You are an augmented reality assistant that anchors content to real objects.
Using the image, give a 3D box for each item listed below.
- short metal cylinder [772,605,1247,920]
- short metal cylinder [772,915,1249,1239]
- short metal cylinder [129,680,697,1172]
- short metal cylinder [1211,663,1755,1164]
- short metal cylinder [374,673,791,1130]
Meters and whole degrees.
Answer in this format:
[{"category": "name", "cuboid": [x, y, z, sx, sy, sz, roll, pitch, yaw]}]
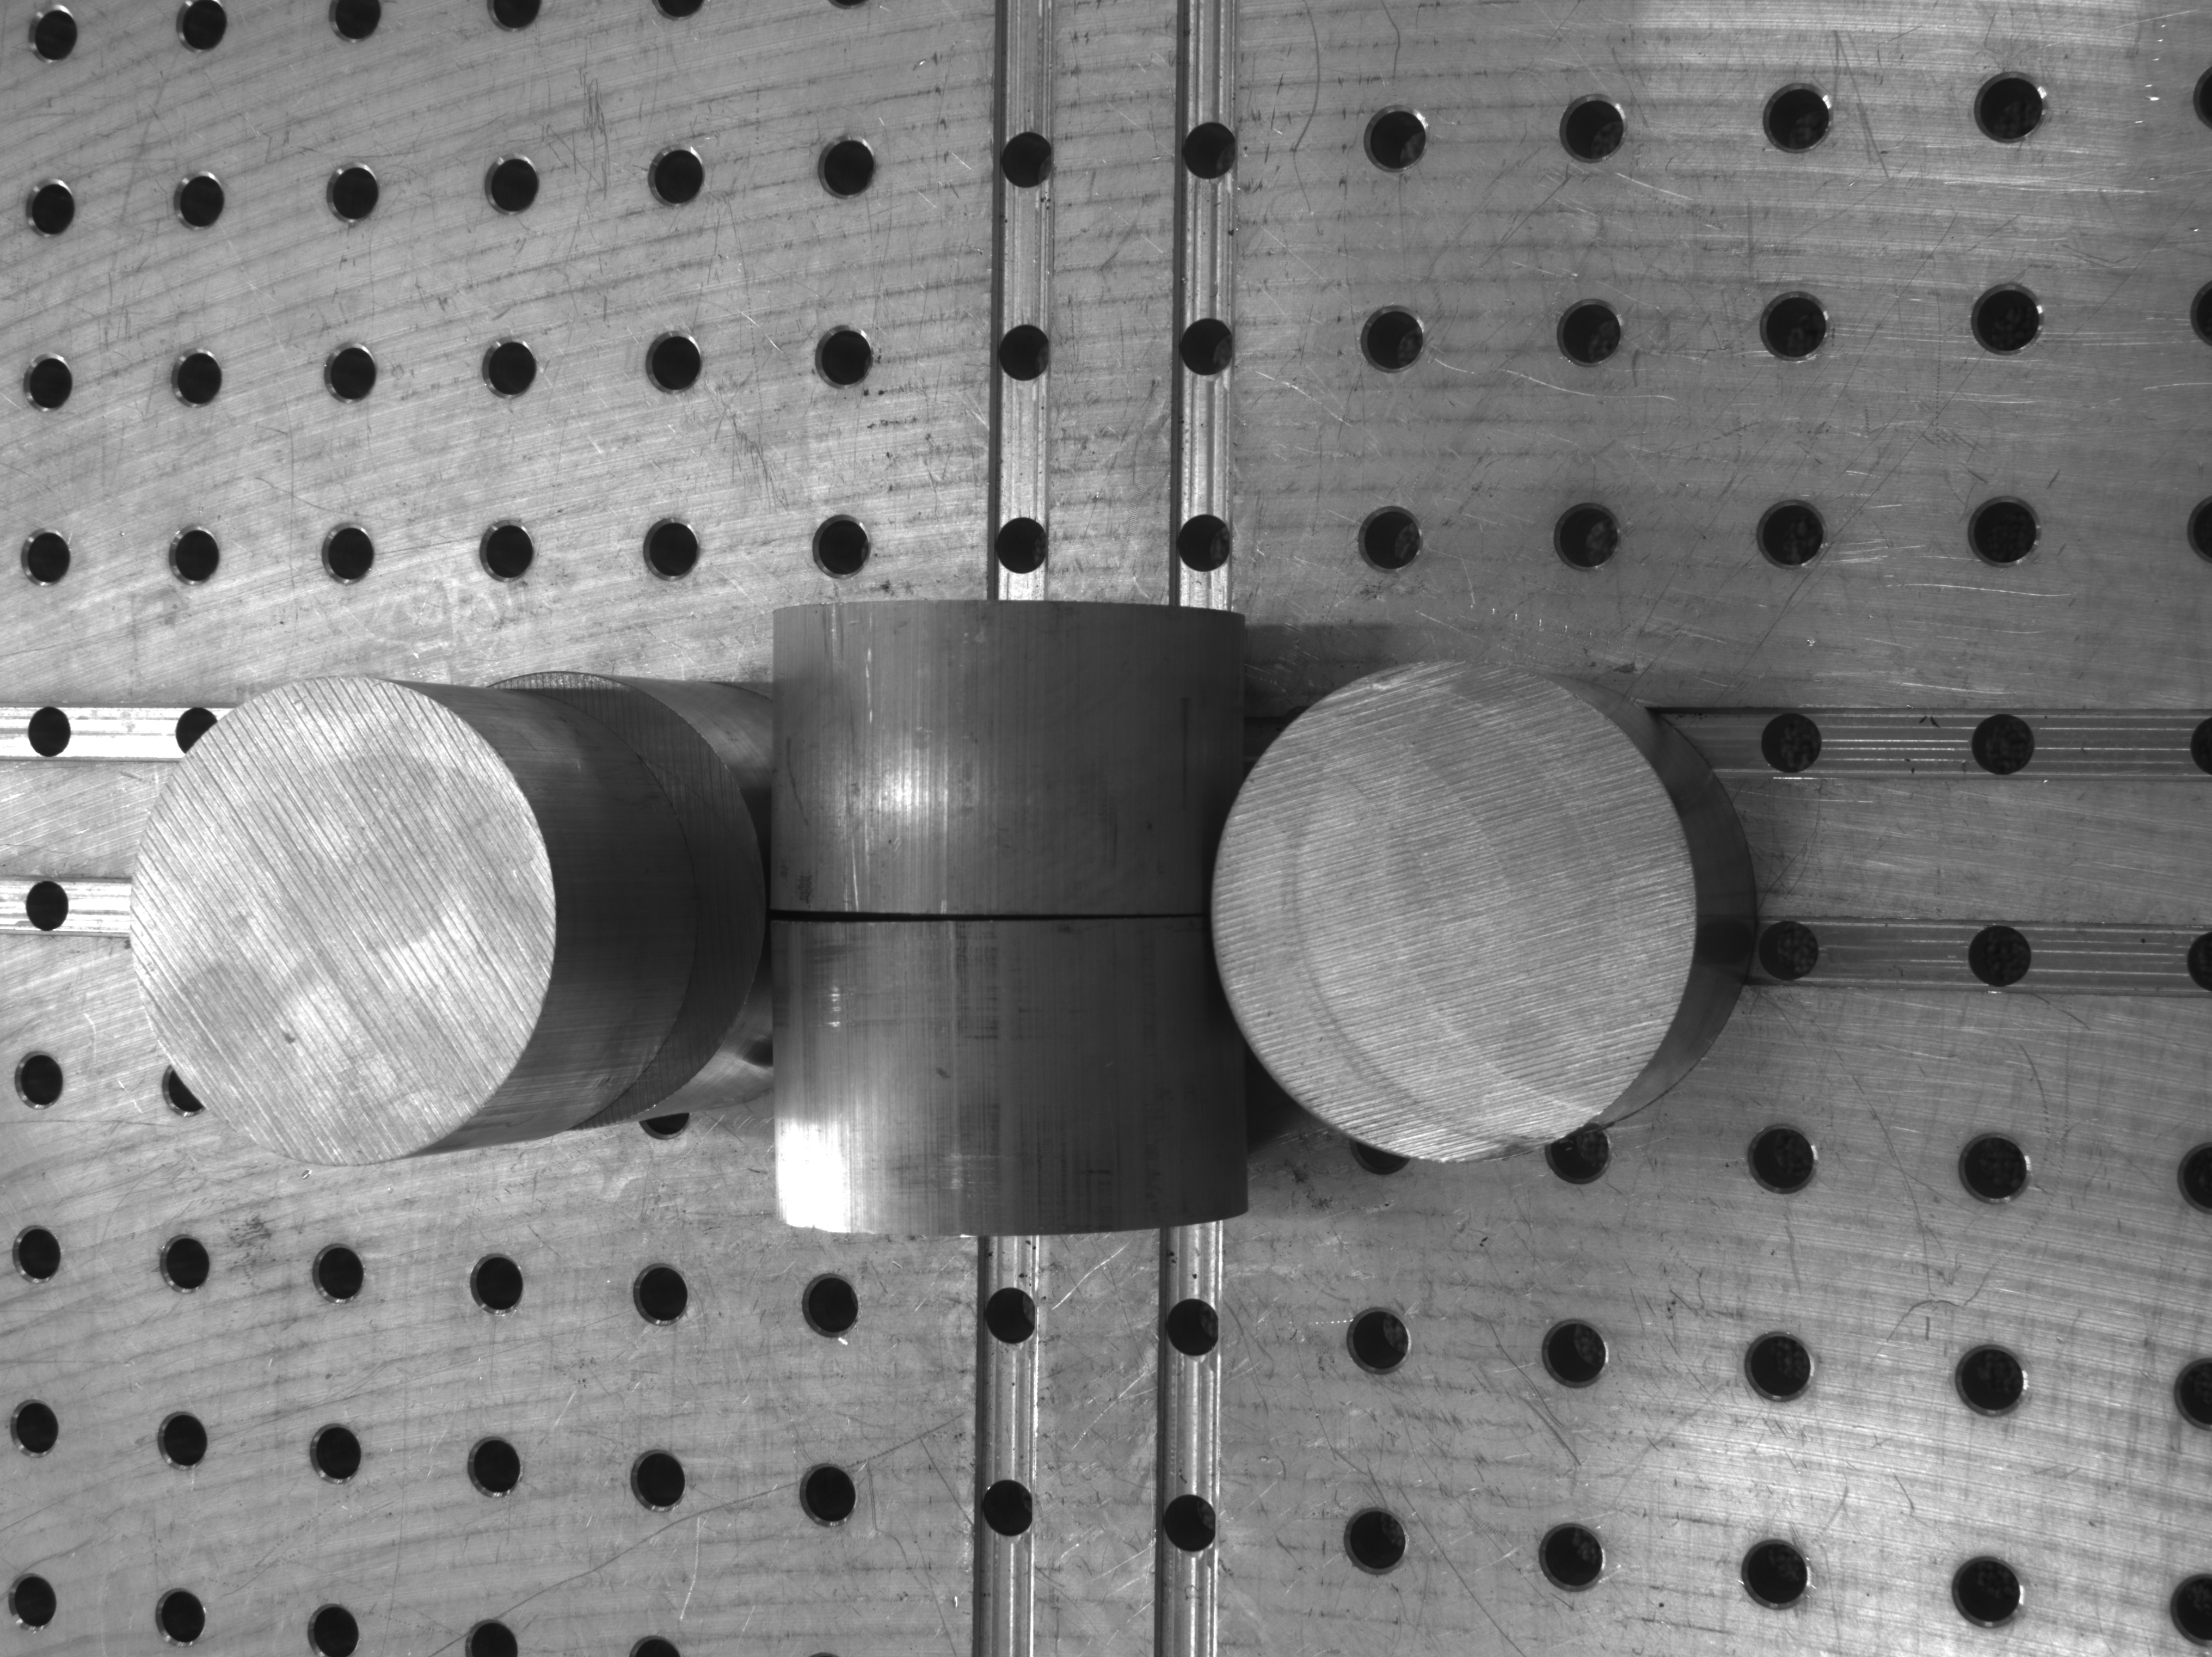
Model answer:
[{"category": "short metal cylinder", "cuboid": [-0.016, -0.011, 0.626, 0.080, 0.080, 0.050, 1, 91, 20]}, {"category": "short metal cylinder", "cuboid": [-0.016, 0.040, 0.625, 0.080, 0.080, 0.050, -1, 89, 20]}, {"category": "short metal cylinder", "cuboid": [-0.116, 0.016, 0.623, 0.080, 0.050, 0.080, 0, 90, 20]}, {"category": "short metal cylinder", "cuboid": [0.063, 0.014, 0.612, 0.080, 0.050, 0.080, 0, 90, 20]}, {"category": "short metal cylinder", "cuboid": [-0.087, 0.013, 0.667, 0.080, 0.050, 0.080, 0, 90, 20]}]
